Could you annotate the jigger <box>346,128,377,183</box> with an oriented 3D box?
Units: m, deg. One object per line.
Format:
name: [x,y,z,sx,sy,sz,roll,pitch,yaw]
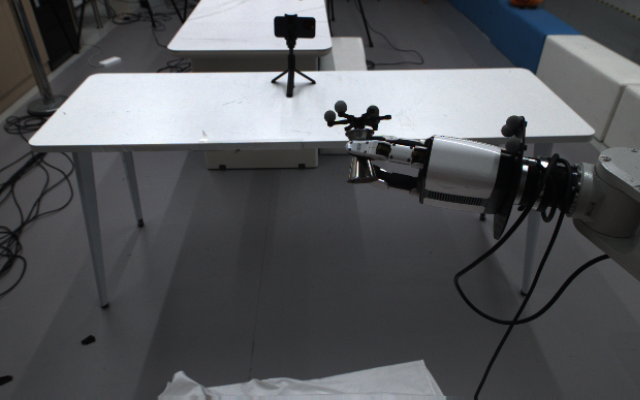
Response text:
jigger: [0.055,-0.060,0.660,0.043,0.071,0.043,-2,-7,0]
